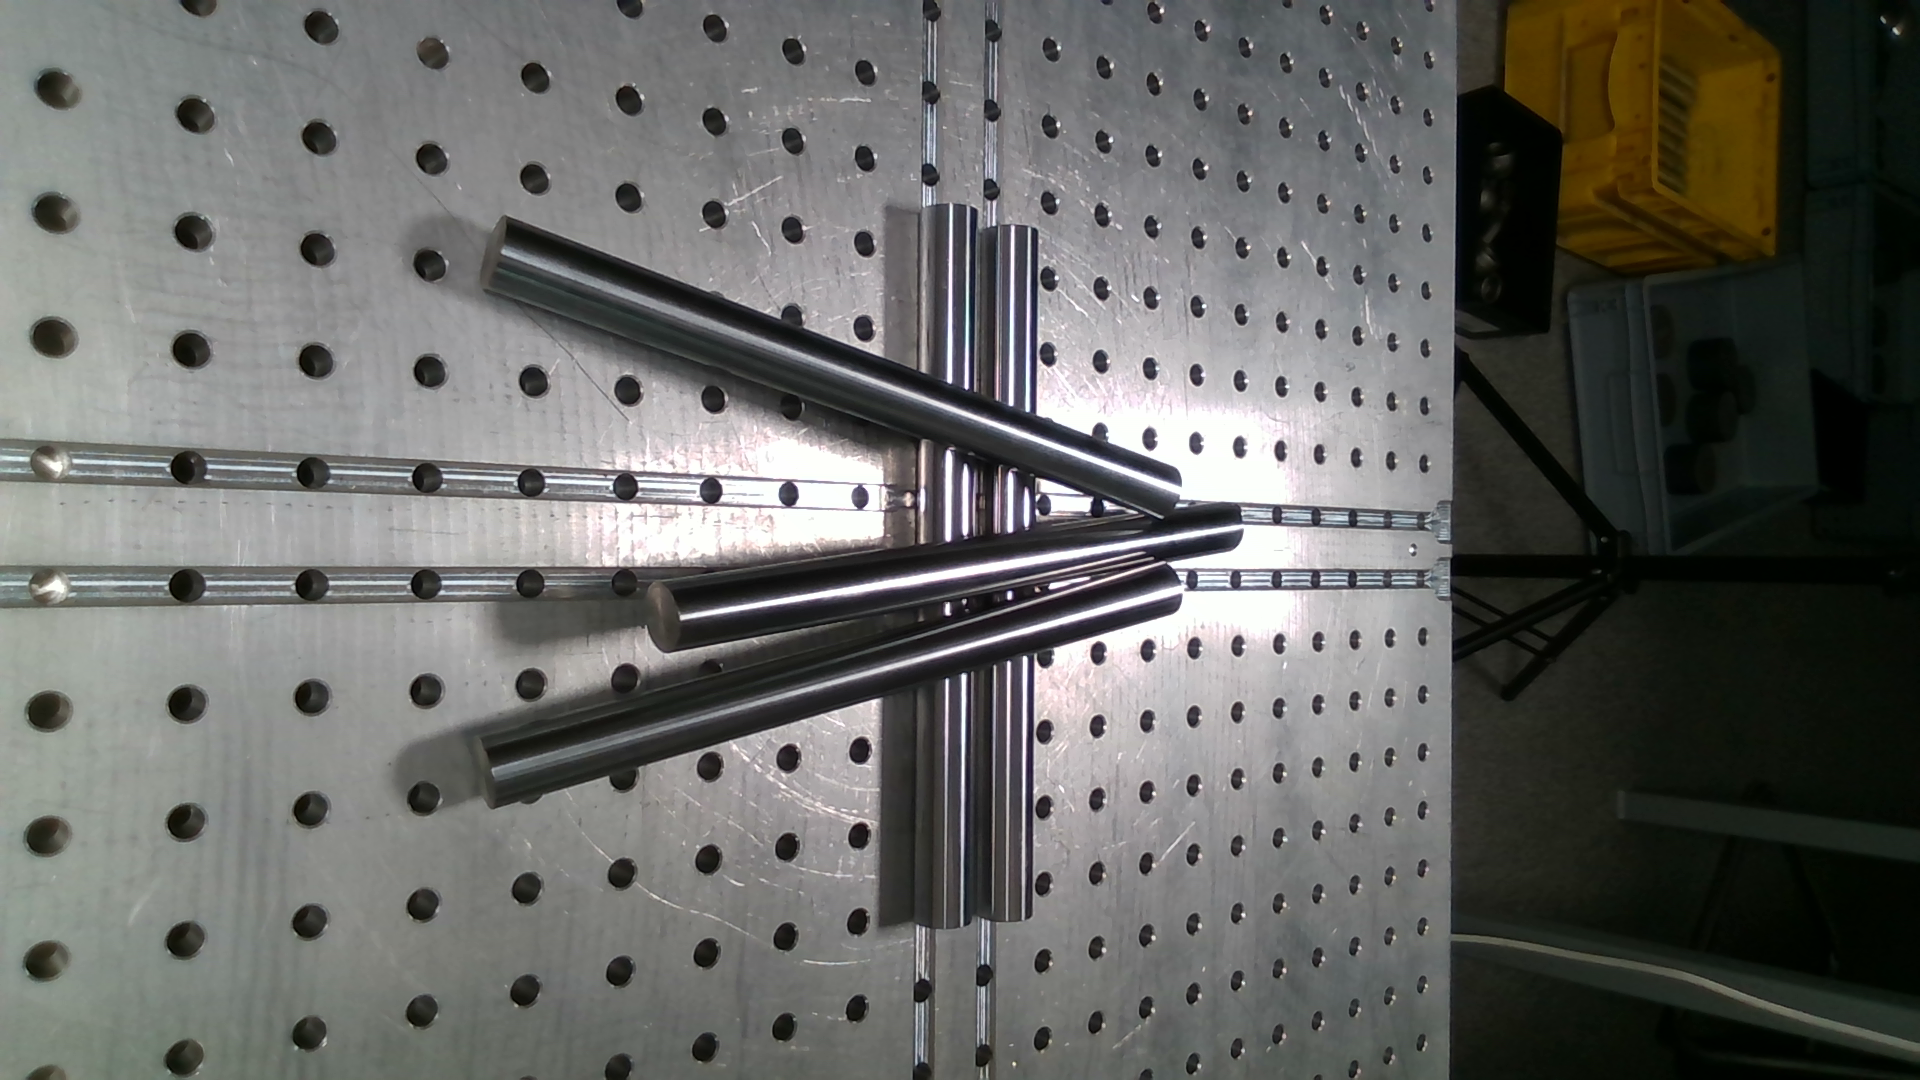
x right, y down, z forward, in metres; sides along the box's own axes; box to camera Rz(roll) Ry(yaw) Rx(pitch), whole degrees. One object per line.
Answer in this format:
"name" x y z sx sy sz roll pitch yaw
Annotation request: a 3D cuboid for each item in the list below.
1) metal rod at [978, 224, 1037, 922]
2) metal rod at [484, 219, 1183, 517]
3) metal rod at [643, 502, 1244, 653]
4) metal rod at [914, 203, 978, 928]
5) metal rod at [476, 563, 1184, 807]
"metal rod" 0.020 0.014 0.604 0.025 0.025 0.300 1 90 -40
"metal rod" -0.032 -0.058 0.535 0.300 0.025 0.025 17 79 -32
"metal rod" 0.012 0.010 0.564 0.300 0.025 0.025 -8 95 -40
"metal rod" -0.006 0.011 0.582 0.025 0.025 0.300 1 90 -40
"metal rod" -0.032 0.049 0.534 0.300 0.025 0.025 -12 98 -32
